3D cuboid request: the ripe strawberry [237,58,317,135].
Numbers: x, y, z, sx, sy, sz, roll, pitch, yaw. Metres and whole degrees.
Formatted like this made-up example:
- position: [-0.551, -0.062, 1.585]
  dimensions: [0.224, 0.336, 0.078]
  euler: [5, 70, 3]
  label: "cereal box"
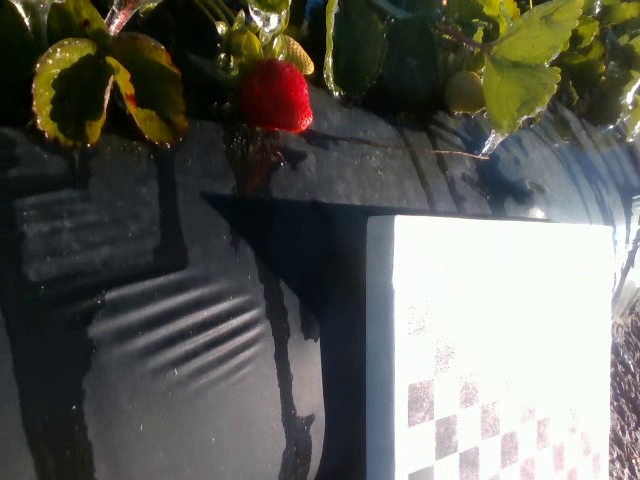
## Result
- position: [-0.012, -0.052, 0.240]
  dimensions: [0.039, 0.040, 0.039]
  euler: [-10, 34, -32]
  label: "ripe strawberry"
